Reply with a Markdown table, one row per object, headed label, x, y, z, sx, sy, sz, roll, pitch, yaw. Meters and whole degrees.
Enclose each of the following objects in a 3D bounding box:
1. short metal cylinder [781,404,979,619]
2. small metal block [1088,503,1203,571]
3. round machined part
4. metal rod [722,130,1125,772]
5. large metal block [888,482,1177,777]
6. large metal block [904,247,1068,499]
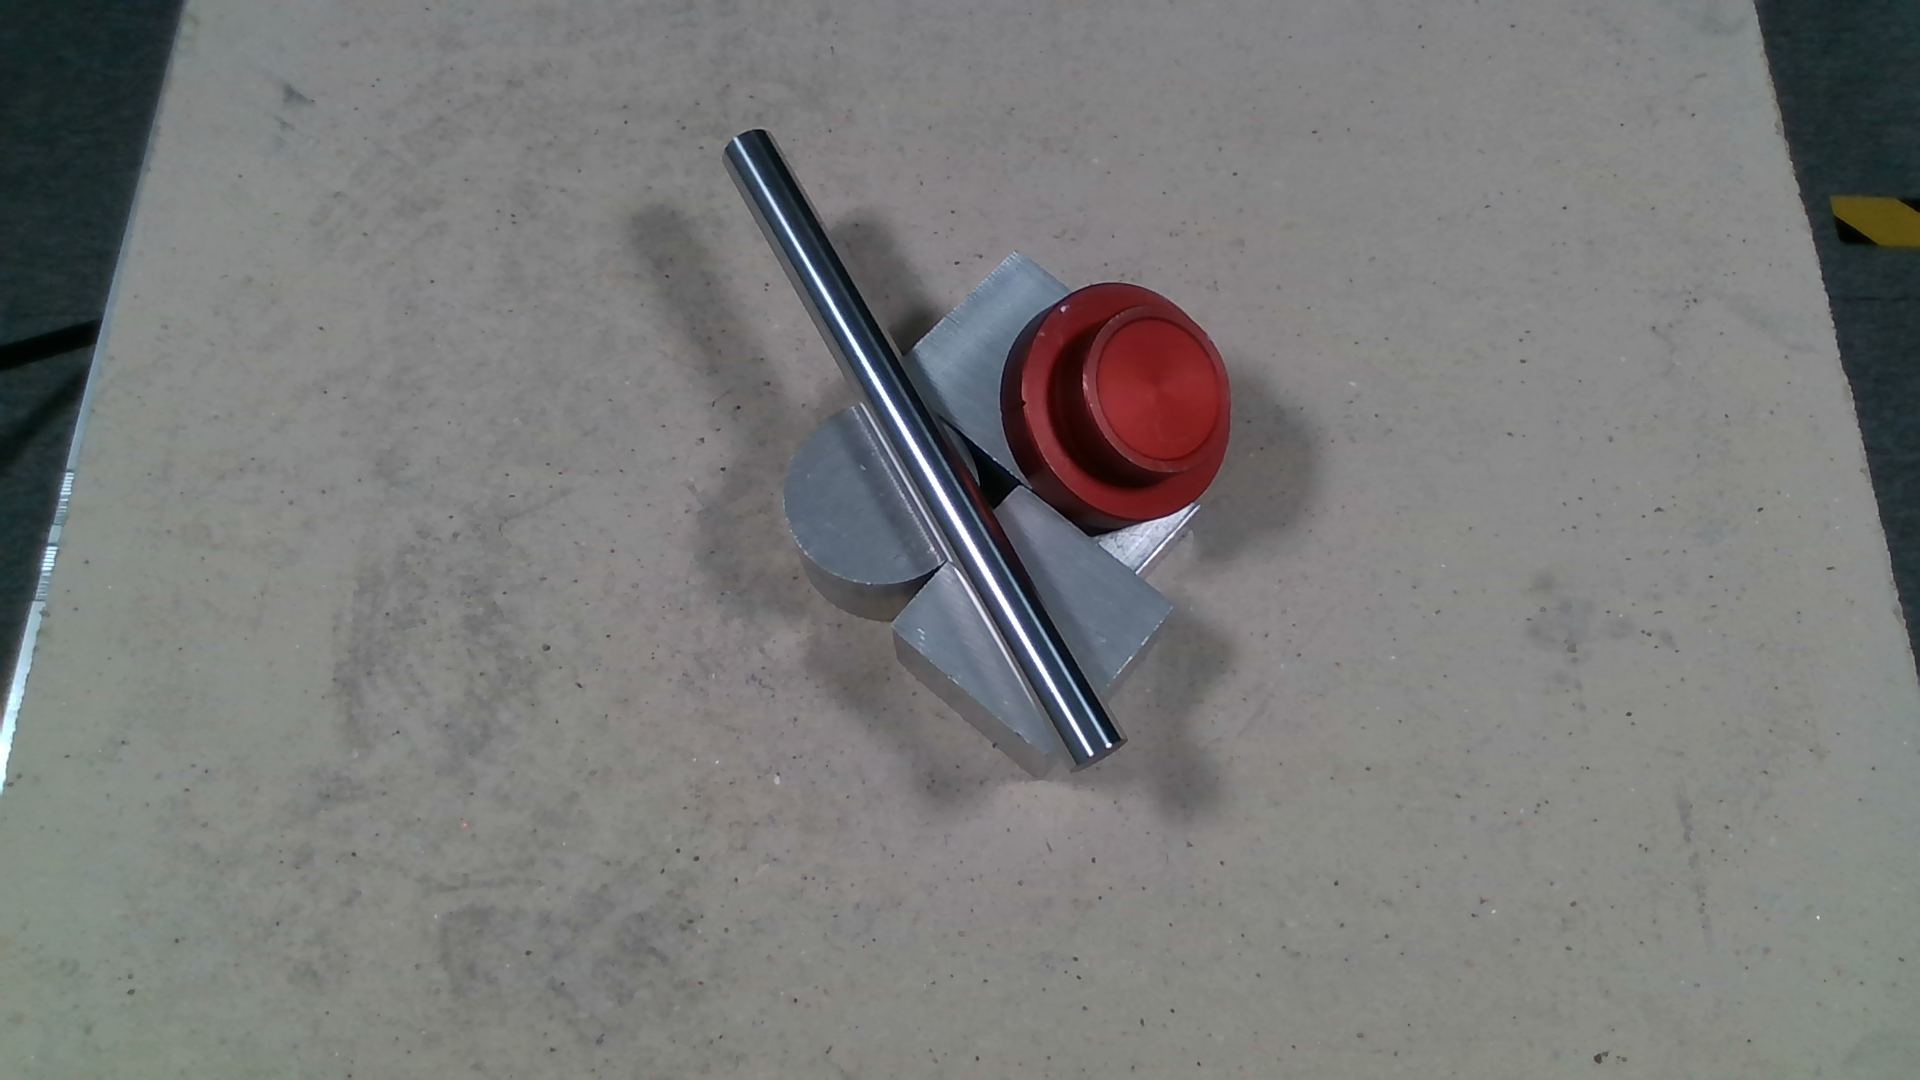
| label | x | y | z | sx | sy | sz | roll | pitch | yaw |
| --- | --- | --- | --- | --- | --- | --- | --- | --- | --- |
| short metal cylinder | -0.032 | -0.012 | 0.579 | 0.080 | 0.050 | 0.080 | 0 | 70 | 0 |
| small metal block | 0.067 | -0.009 | 0.591 | 0.050 | 0.025 | 0.050 | 41 | 75 | 13 |
| round machined part | 0.069 | -0.056 | 0.552 | 0.098 | 0.042 | 0.098 | 4 | 82 | -25 |
| metal rod | -0.021 | -0.044 | 0.551 | 0.025 | 0.025 | 0.299 | -27 | 72 | -9 |
| large metal block | 0.029 | 0.038 | 0.562 | 0.080 | 0.050 | 0.080 | 39 | 75 | 13 |
| large metal block | 0.027 | -0.064 | 0.597 | 0.080 | 0.050 | 0.080 | 40 | 75 | 13 |
